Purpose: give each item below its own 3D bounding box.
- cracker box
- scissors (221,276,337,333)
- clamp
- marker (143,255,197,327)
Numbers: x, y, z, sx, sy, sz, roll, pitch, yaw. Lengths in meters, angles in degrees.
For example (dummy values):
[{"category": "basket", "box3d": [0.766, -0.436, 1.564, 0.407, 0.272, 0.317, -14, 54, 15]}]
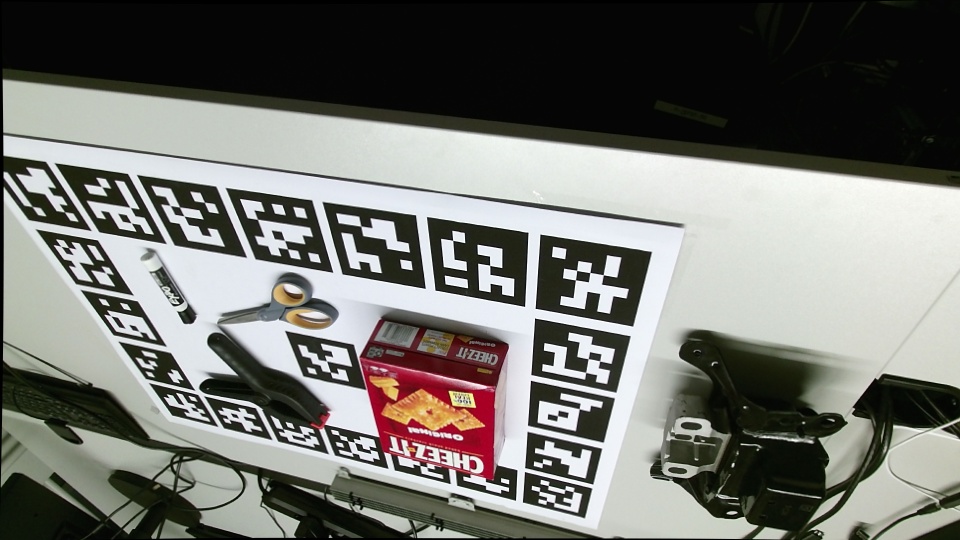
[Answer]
[{"category": "cracker box", "box3d": [-0.049, 0.170, 0.677, 0.165, 0.072, 0.214, 10, 133, 10]}, {"category": "scissors", "box3d": [-0.270, 0.058, 0.687, 0.203, 0.016, 0.088, -14, 126, 32]}, {"category": "clamp", "box3d": [-0.315, 0.187, 0.826, 0.203, 0.036, 0.165, 32, 134, -9]}, {"category": "marker", "box3d": [-0.408, 0.032, 0.711, 0.020, 0.019, 0.121, 6, 133, 14]}]
